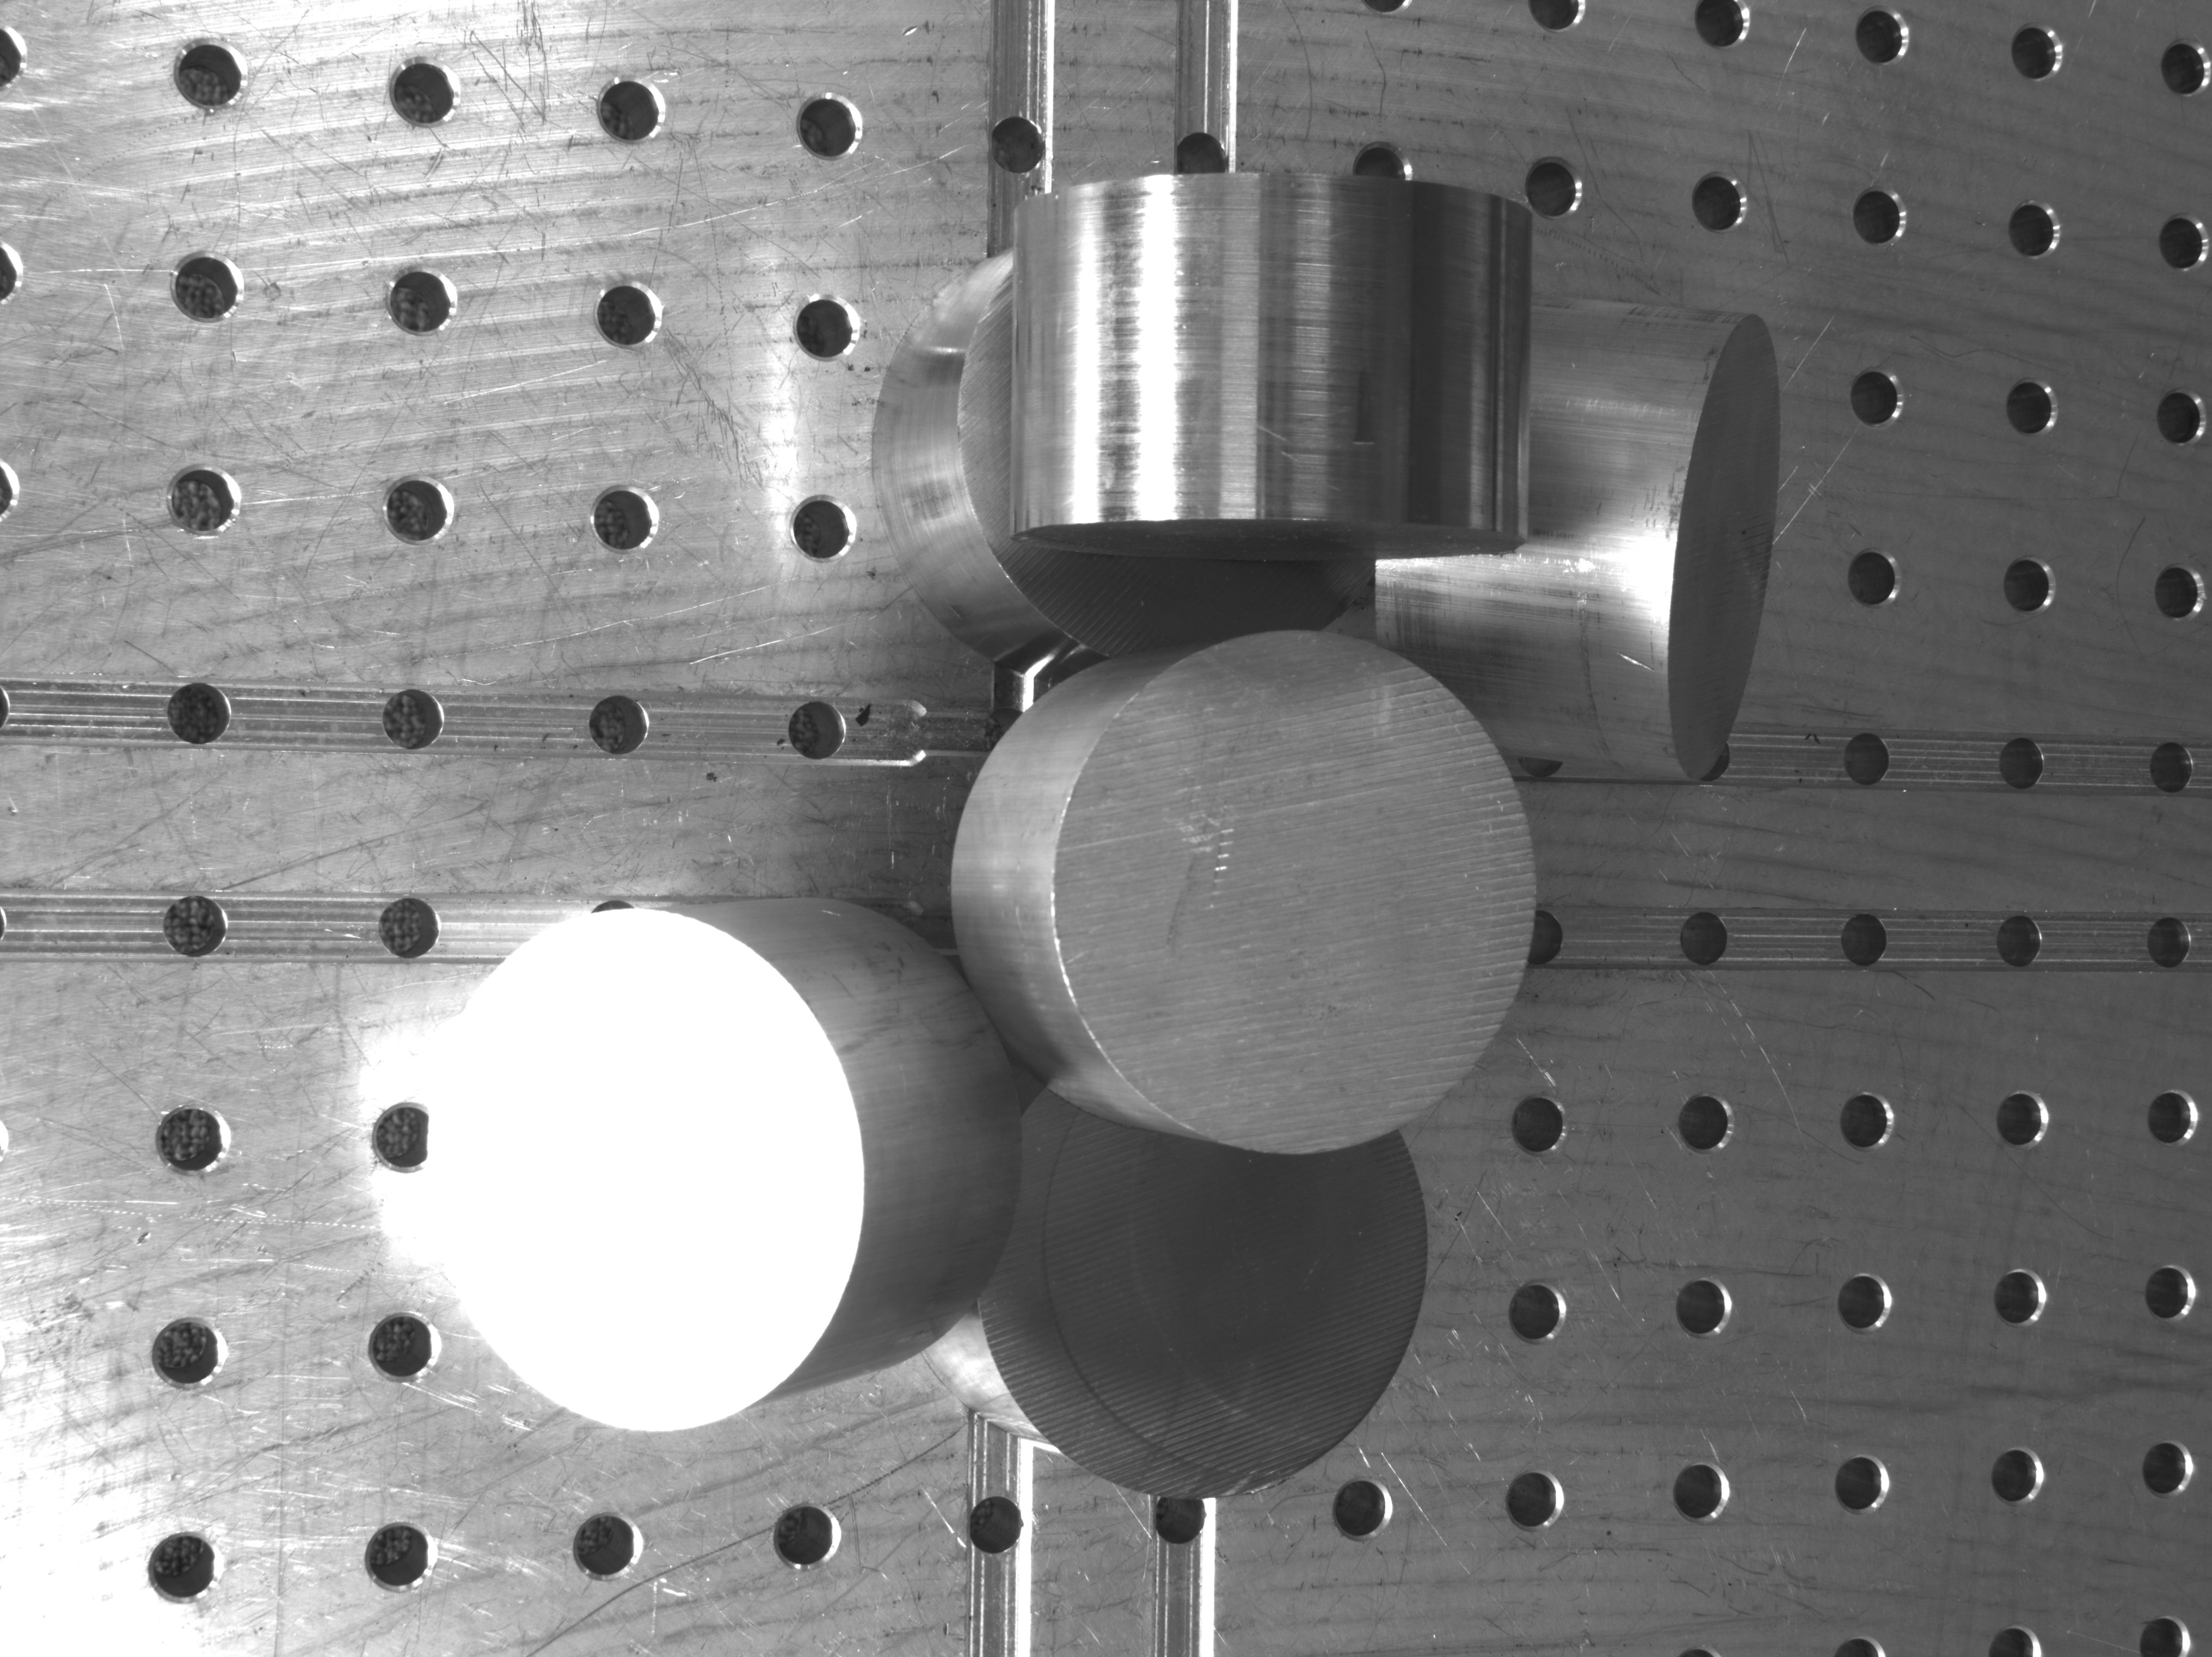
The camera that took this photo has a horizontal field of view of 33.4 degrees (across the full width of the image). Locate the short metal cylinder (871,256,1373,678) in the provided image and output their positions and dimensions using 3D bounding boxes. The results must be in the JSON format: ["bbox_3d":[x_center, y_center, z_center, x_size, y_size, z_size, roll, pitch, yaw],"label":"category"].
[{"bbox_3d":[0.005,-0.065,0.634,0.080,0.050,0.080,0,90,-20],"label":"short metal cylinder"}]

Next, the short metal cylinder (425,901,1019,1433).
[{"bbox_3d":[-0.061,0.052,0.589,0.050,0.080,0.080,-3,91,-64],"label":"short metal cylinder"}]

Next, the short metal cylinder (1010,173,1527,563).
[{"bbox_3d":[0.025,-0.069,0.572,0.080,0.080,0.050,1,90,-20],"label":"short metal cylinder"}]

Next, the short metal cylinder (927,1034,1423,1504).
[{"bbox_3d":[0.008,0.072,0.635,0.080,0.050,0.080,0,91,-20],"label":"short metal cylinder"}]

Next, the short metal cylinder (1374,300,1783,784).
[{"bbox_3d":[0.083,-0.051,0.640,0.050,0.080,0.080,9,86,21],"label":"short metal cylinder"}]

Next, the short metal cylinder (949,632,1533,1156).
[{"bbox_3d":[0.021,0.010,0.586,0.080,0.050,0.080,0,90,-20],"label":"short metal cylinder"}]
